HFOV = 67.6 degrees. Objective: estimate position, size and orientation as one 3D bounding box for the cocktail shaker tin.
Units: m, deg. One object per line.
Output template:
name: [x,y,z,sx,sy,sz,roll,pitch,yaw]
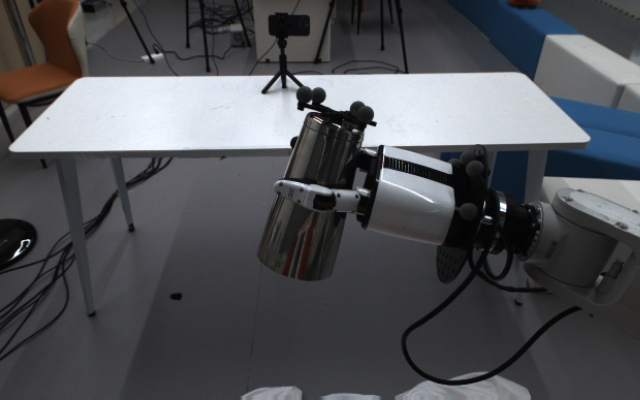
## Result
cocktail shaker tin: [-0.006,-0.006,0.544,0.093,0.170,0.093,15,17,-5]
